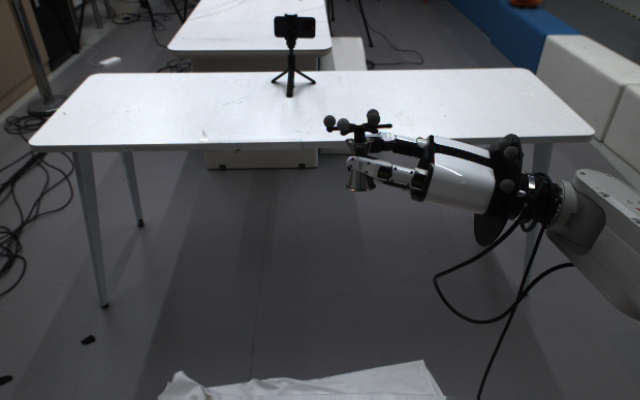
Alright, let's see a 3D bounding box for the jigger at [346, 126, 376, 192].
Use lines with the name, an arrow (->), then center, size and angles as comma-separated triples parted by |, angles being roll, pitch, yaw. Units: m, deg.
jigger -> 0.056, -0.050, 0.676 | 0.043, 0.071, 0.043 | -2, 19, 1
